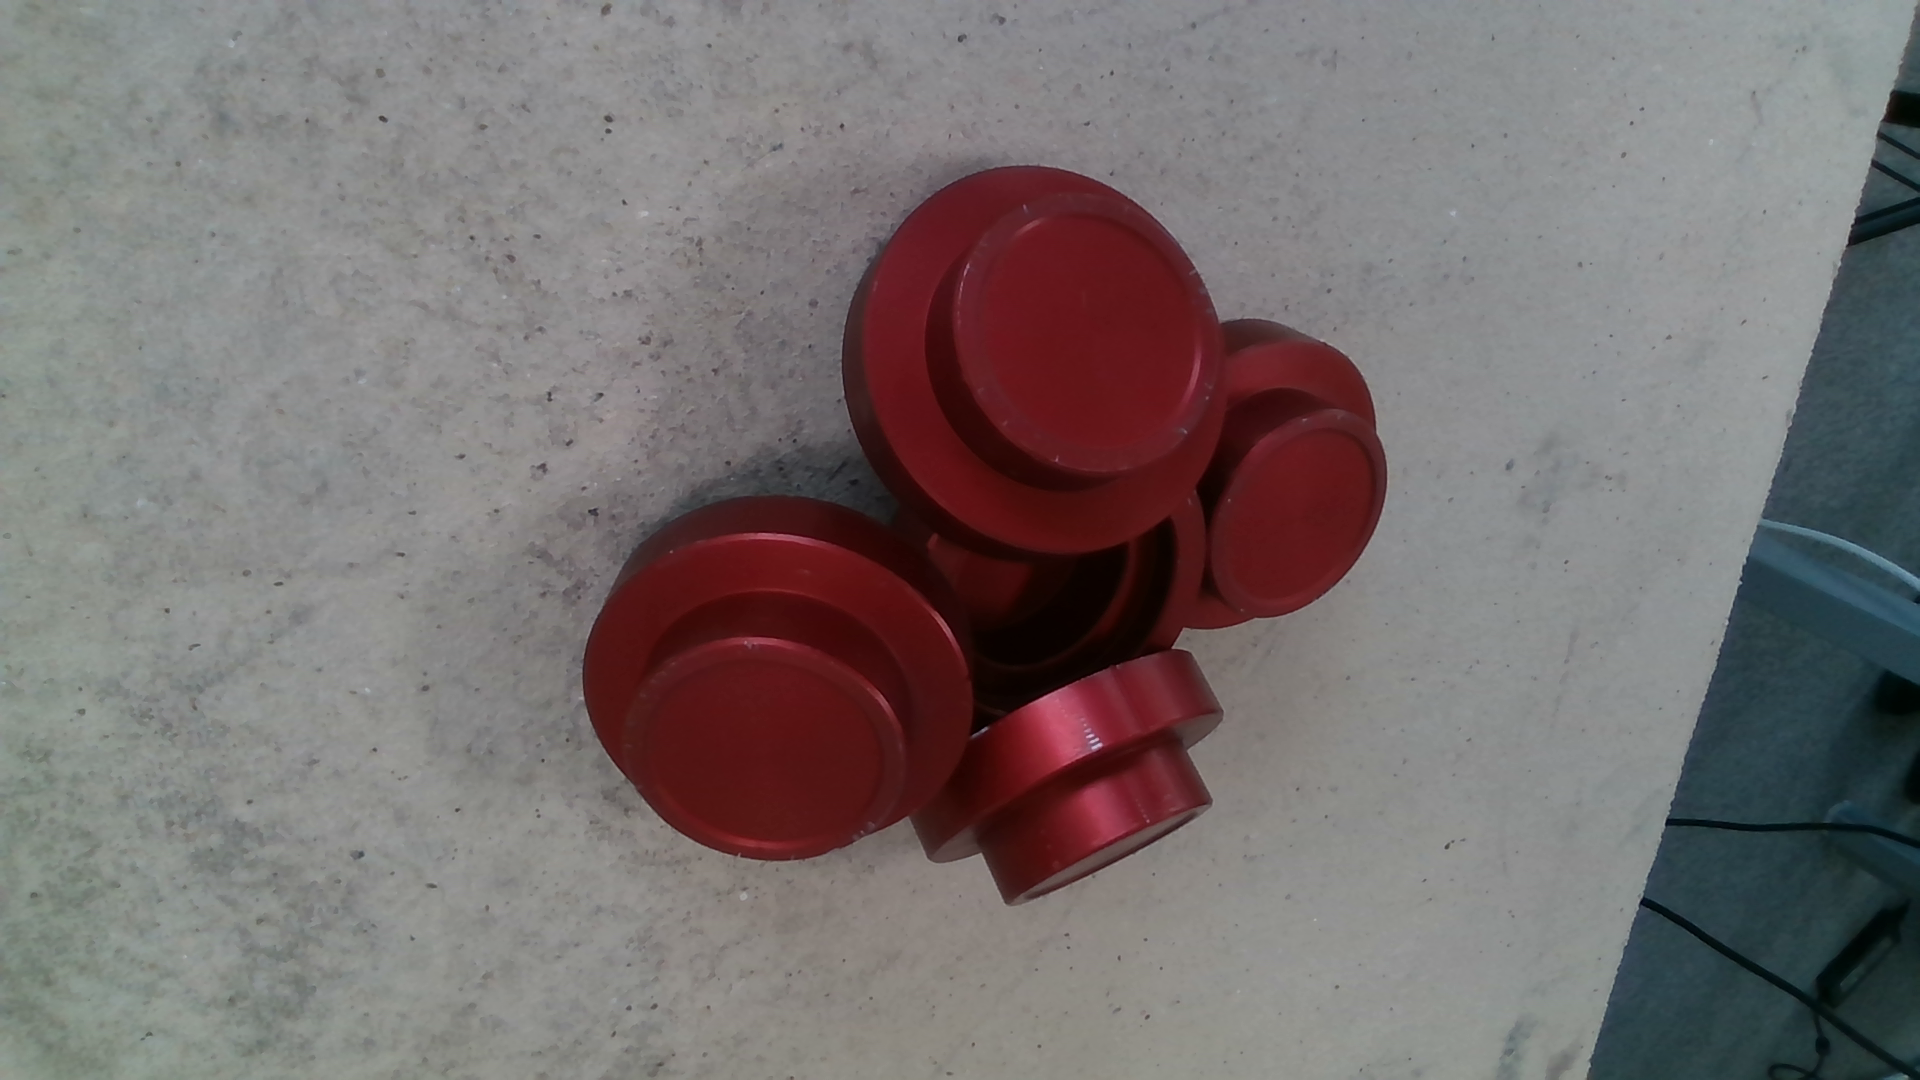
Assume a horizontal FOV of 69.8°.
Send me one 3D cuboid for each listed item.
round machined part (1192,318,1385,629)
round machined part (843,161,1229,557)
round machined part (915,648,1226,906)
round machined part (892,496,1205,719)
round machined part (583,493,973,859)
[{"bbox_3d":[0.092,-0.016,0.427,0.098,0.042,0.098,-15,122,-26],"label":"round machined part"},{"bbox_3d":[0.024,-0.046,0.338,0.098,0.042,0.098,3,82,-20],"label":"round machined part"},{"bbox_3d":[0.036,0.074,0.408,0.098,0.042,0.098,-24,161,-9],"label":"round machined part"},{"bbox_3d":[0.019,0.007,0.394,0.098,0.042,0.098,-14,119,-26],"label":"round machined part"},{"bbox_3d":[-0.046,0.041,0.345,0.098,0.042,0.098,1,121,1],"label":"round machined part"}]
